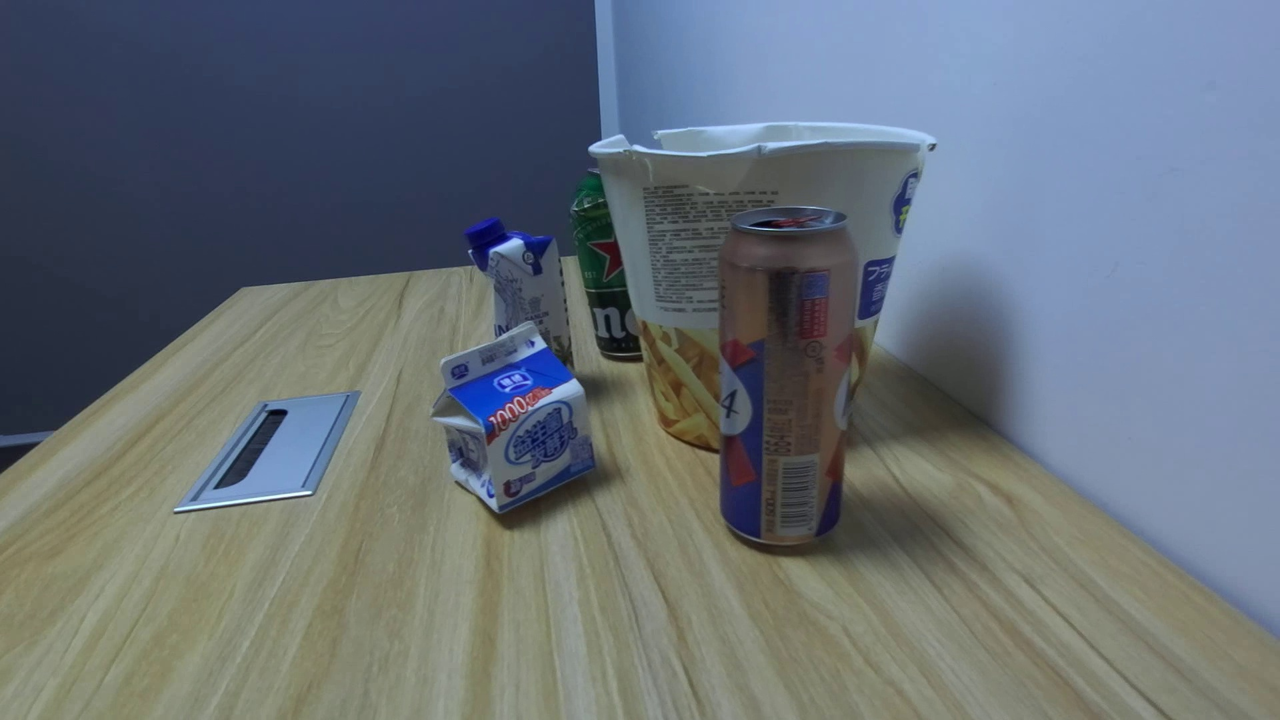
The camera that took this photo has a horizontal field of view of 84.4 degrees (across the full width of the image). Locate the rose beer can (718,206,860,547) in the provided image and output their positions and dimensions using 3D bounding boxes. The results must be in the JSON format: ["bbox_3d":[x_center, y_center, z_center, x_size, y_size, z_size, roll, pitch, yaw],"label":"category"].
[{"bbox_3d":[0.074,0.012,0.362,0.068,0.169,0.068,-3,23,2],"label":"rose beer can"}]

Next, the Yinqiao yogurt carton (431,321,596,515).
[{"bbox_3d":[-0.084,0.031,0.432,0.075,0.097,0.080,-23,22,-39],"label":"Yinqiao yogurt carton"}]

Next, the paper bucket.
[{"bbox_3d":[0.075,-0.056,0.486,0.203,0.197,0.145,-3,21,1],"label":"paper bucket"}]

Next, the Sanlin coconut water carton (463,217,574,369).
[{"bbox_3d":[-0.088,-0.037,0.539,0.070,0.144,0.060,-15,22,-24],"label":"Sanlin coconut water carton"}]
